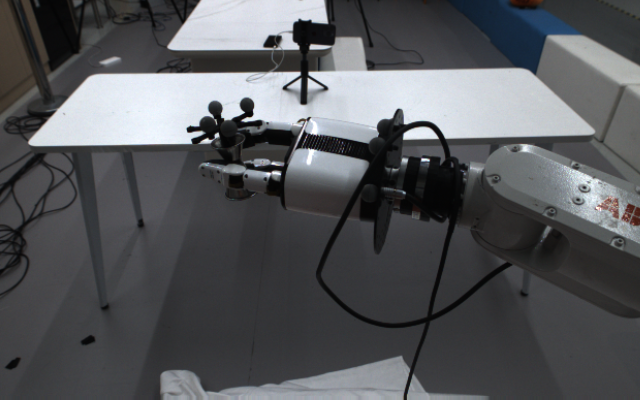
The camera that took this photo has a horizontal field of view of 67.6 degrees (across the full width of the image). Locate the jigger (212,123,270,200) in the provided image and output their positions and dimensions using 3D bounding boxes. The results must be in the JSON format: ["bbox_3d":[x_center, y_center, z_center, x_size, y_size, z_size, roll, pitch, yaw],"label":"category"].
[{"bbox_3d":[-0.097,-0.040,0.572,0.043,0.071,0.043,-9,31,5],"label":"jigger"}]
